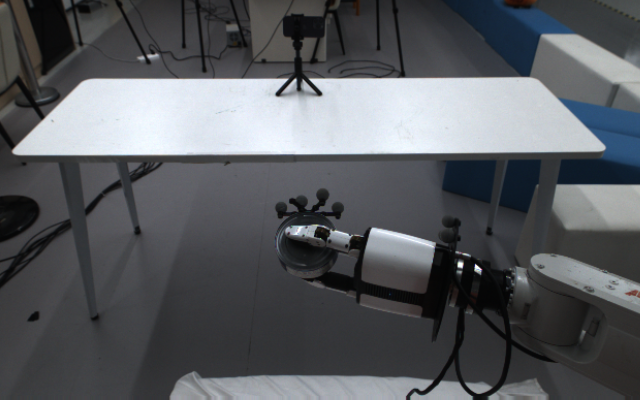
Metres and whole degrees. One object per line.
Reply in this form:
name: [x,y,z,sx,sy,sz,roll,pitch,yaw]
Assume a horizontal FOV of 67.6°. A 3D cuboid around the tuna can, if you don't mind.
tuna can: [-0.015,0.065,0.646,0.085,0.034,0.085,-1,58,2]
